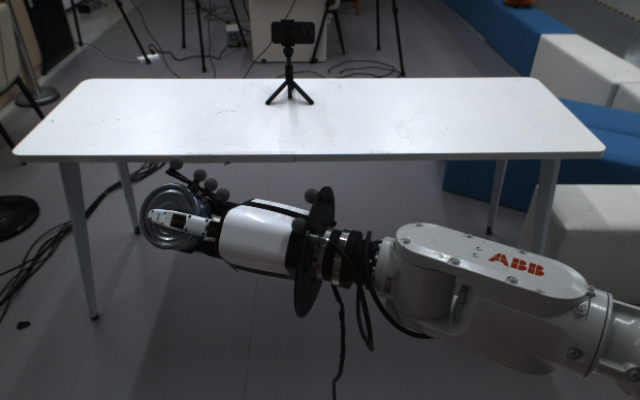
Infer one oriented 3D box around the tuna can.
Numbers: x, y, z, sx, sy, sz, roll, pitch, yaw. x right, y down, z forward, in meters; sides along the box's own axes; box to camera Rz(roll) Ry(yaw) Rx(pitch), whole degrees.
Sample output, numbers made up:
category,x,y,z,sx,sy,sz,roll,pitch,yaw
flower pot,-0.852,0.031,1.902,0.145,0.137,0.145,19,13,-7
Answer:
category,x,y,z,sx,sy,sz,roll,pitch,yaw
tuna can,-0.185,0.023,0.620,0.085,0.085,0.034,12,-5,14
